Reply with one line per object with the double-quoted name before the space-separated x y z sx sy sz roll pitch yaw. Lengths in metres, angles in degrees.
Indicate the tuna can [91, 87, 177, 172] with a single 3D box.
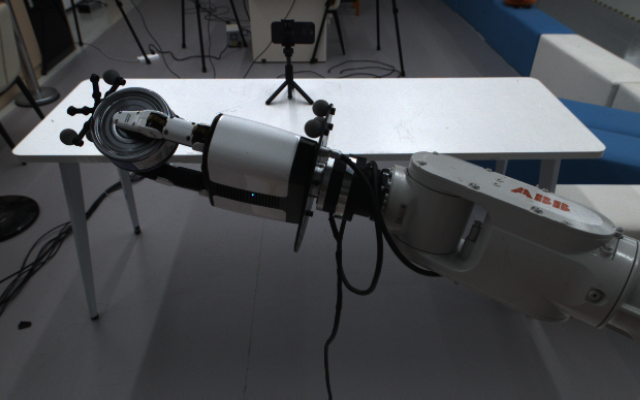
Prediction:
"tuna can" -0.193 -0.076 0.515 0.085 0.034 0.085 0 75 -1
